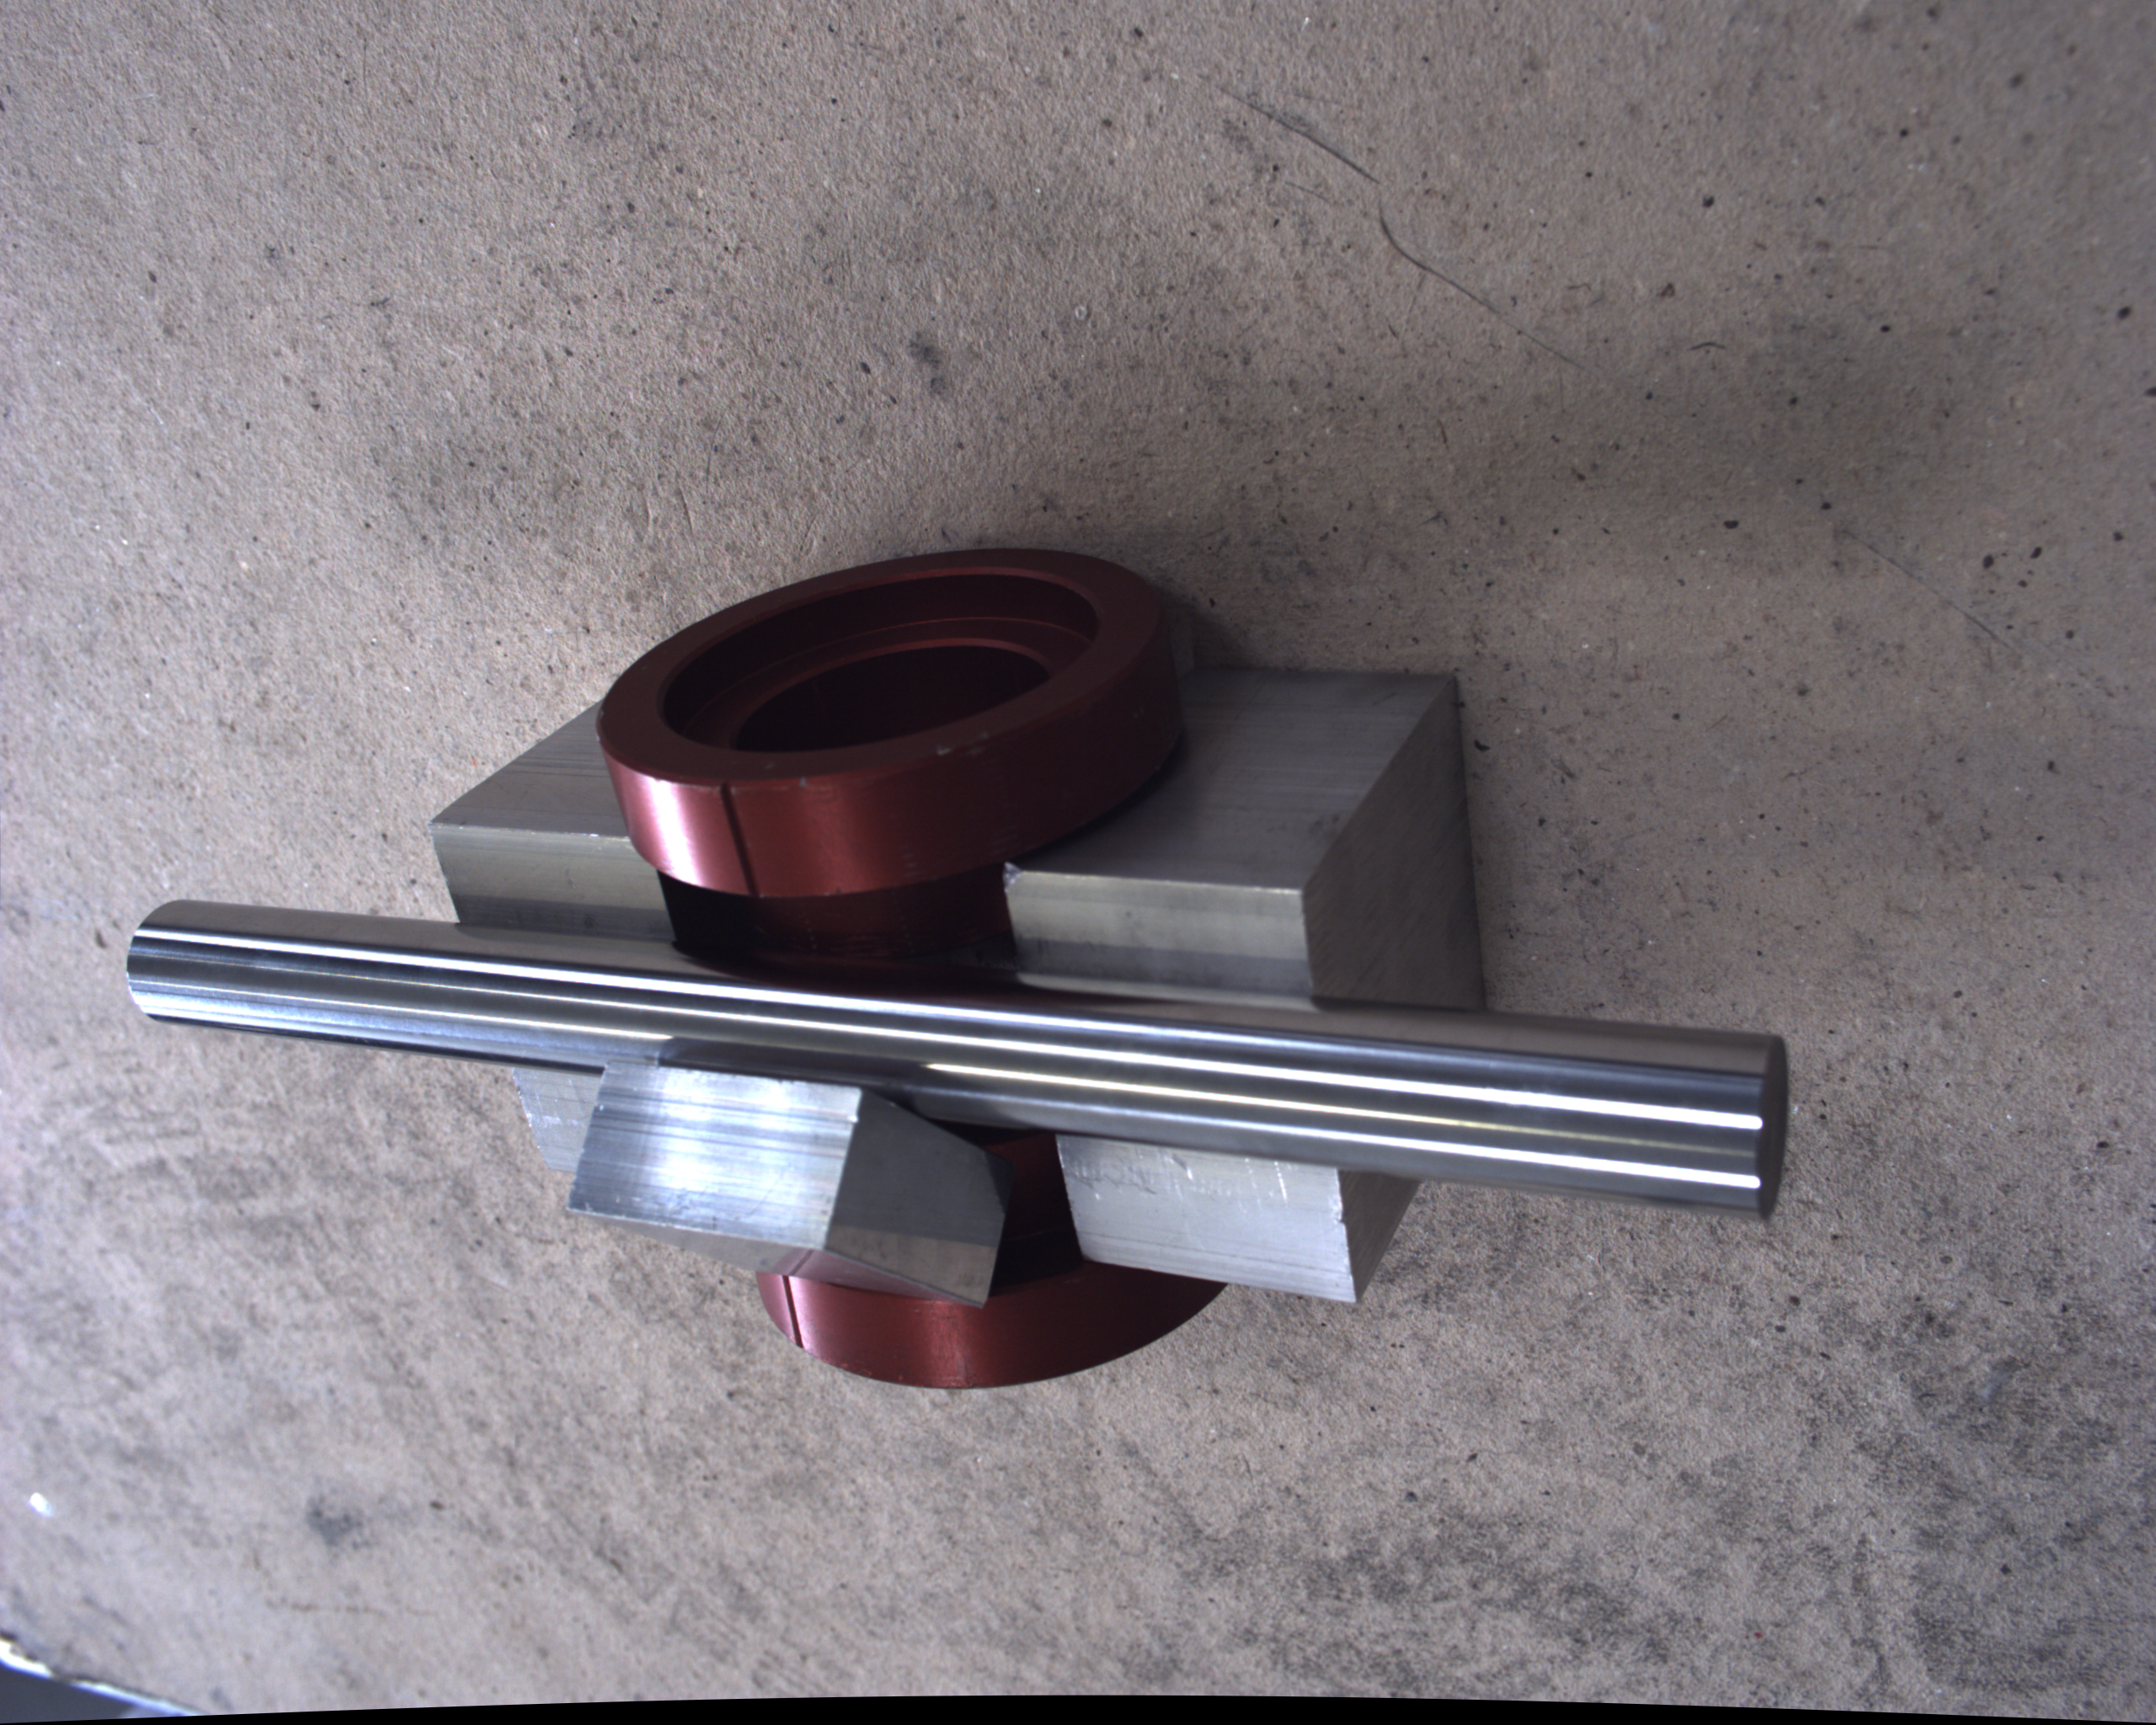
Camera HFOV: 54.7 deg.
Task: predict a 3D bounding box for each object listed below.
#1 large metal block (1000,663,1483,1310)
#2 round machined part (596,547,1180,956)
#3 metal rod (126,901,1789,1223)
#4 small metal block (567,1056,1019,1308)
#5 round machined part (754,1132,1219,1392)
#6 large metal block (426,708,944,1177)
[{"bbox_3d":[0.034,0.018,0.366,0.050,0.080,0.079,4,120,26],"label":"large metal block"},{"bbox_3d":[-0.030,-0.018,0.366,0.098,0.098,0.042,4,121,26],"label":"round machined part"},{"bbox_3d":[-0.042,0.028,0.344,0.301,0.025,0.025,3,120,26],"label":"metal rod"},{"bbox_3d":[-0.046,0.053,0.344,0.050,0.025,0.050,3,160,29],"label":"small metal block"},{"bbox_3d":[-0.017,0.055,0.404,0.098,0.098,0.042,5,115,26],"label":"round machined part"},{"bbox_3d":[-0.073,0.010,0.418,0.050,0.080,0.079,4,120,26],"label":"large metal block"}]
